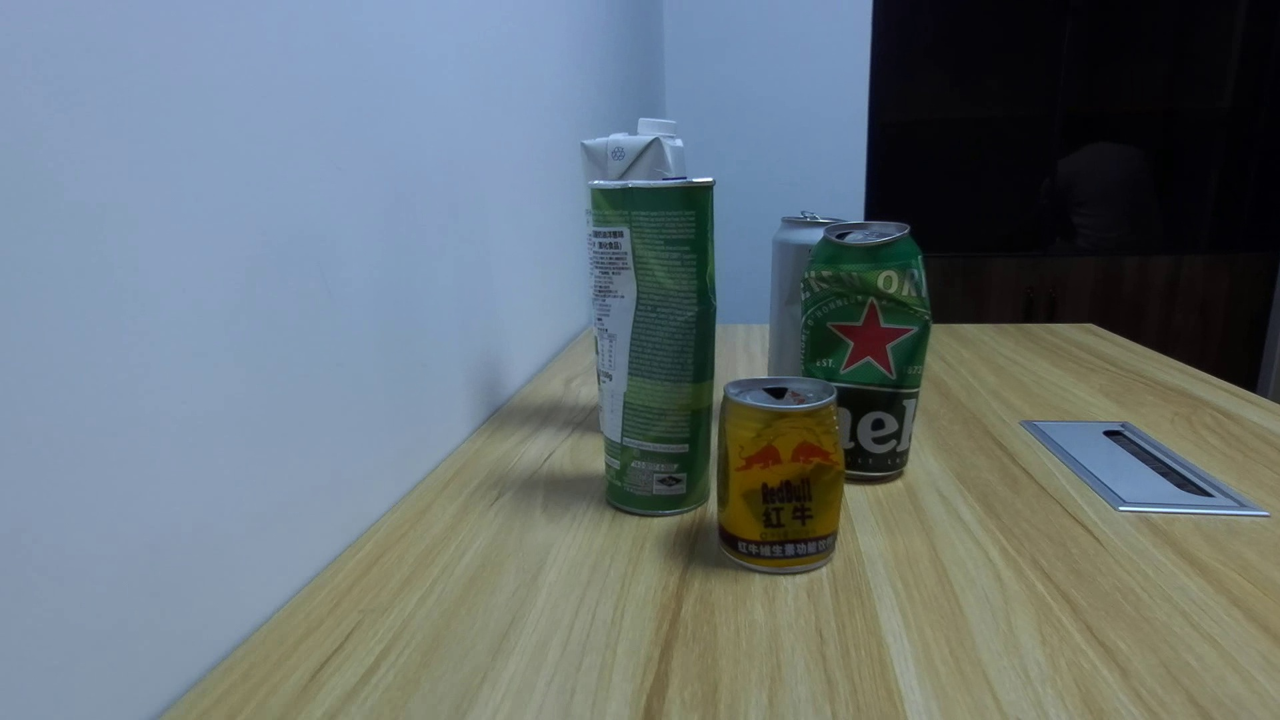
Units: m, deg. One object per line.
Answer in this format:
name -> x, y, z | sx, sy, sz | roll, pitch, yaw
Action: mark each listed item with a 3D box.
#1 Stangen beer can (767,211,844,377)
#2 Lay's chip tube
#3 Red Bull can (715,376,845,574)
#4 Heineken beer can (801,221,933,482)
Stangen beer can -> 0.149, -0.036, 0.574 | 0.069, 0.173, 0.070 | 12, 31, 43
Lay's chip tube -> 0.008, -0.008, 0.435 | 0.075, 0.199, 0.069 | -1, 15, 0
Red Bull can -> 0.075, 0.058, 0.380 | 0.072, 0.092, 0.072 | -2, 15, 1
Heineken beer can -> 0.148, -0.004, 0.472 | 0.069, 0.168, 0.068 | -9, 17, -19
